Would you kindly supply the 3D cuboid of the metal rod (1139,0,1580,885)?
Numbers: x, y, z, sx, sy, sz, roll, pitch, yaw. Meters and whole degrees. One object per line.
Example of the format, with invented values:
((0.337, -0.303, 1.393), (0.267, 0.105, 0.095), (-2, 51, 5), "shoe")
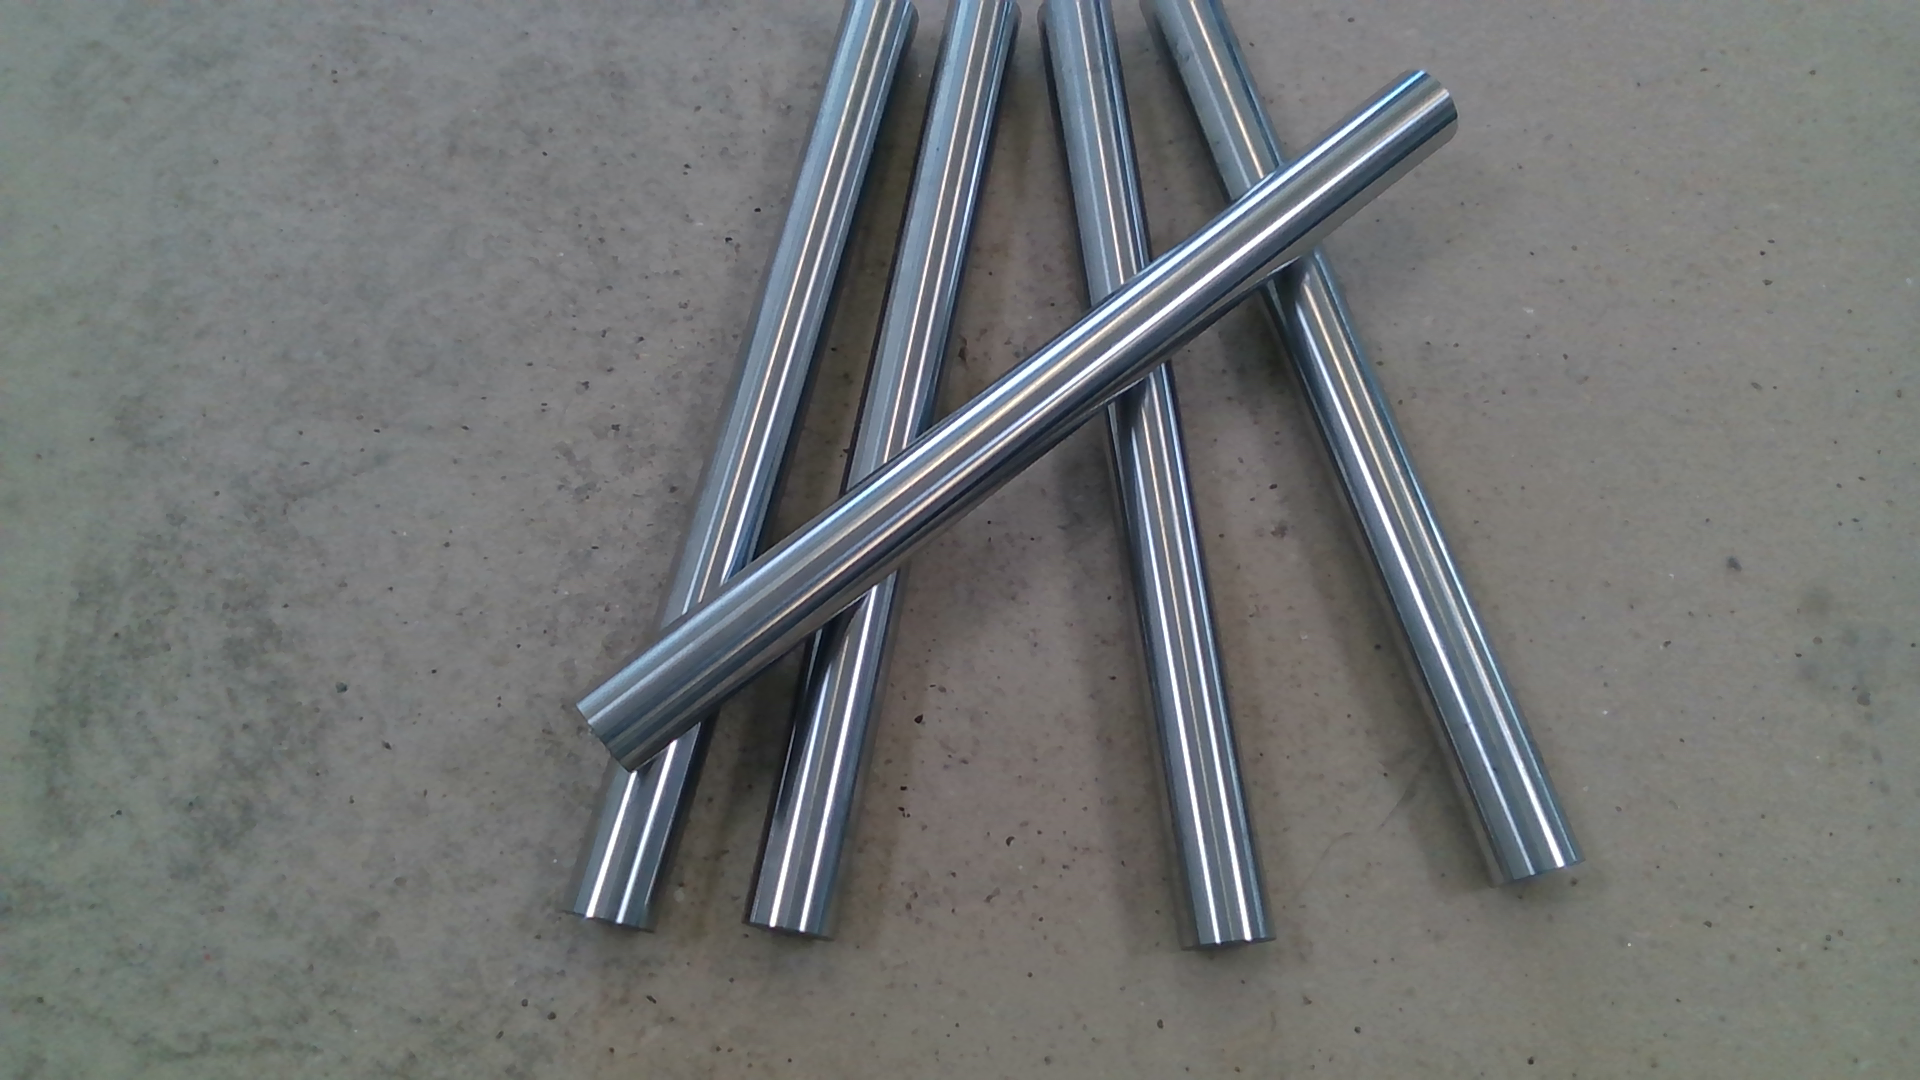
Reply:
((0.112, -0.048, 0.413), (0.025, 0.025, 0.299), (-15, 71, -5), "metal rod")

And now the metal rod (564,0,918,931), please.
((-0.059, -0.038, 0.409), (0.025, 0.025, 0.299), (12, 71, 4), "metal rod")

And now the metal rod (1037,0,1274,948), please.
((0.054, -0.035, 0.409), (0.025, 0.025, 0.299), (-6, 71, -2), "metal rod")

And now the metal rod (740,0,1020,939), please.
((-0.019, -0.037, 0.409), (0.025, 0.025, 0.299), (10, 71, 3), "metal rod")

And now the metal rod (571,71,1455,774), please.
((0.024, -0.040, 0.383), (0.300, 0.025, 0.025), (-38, 75, -12), "metal rod")
